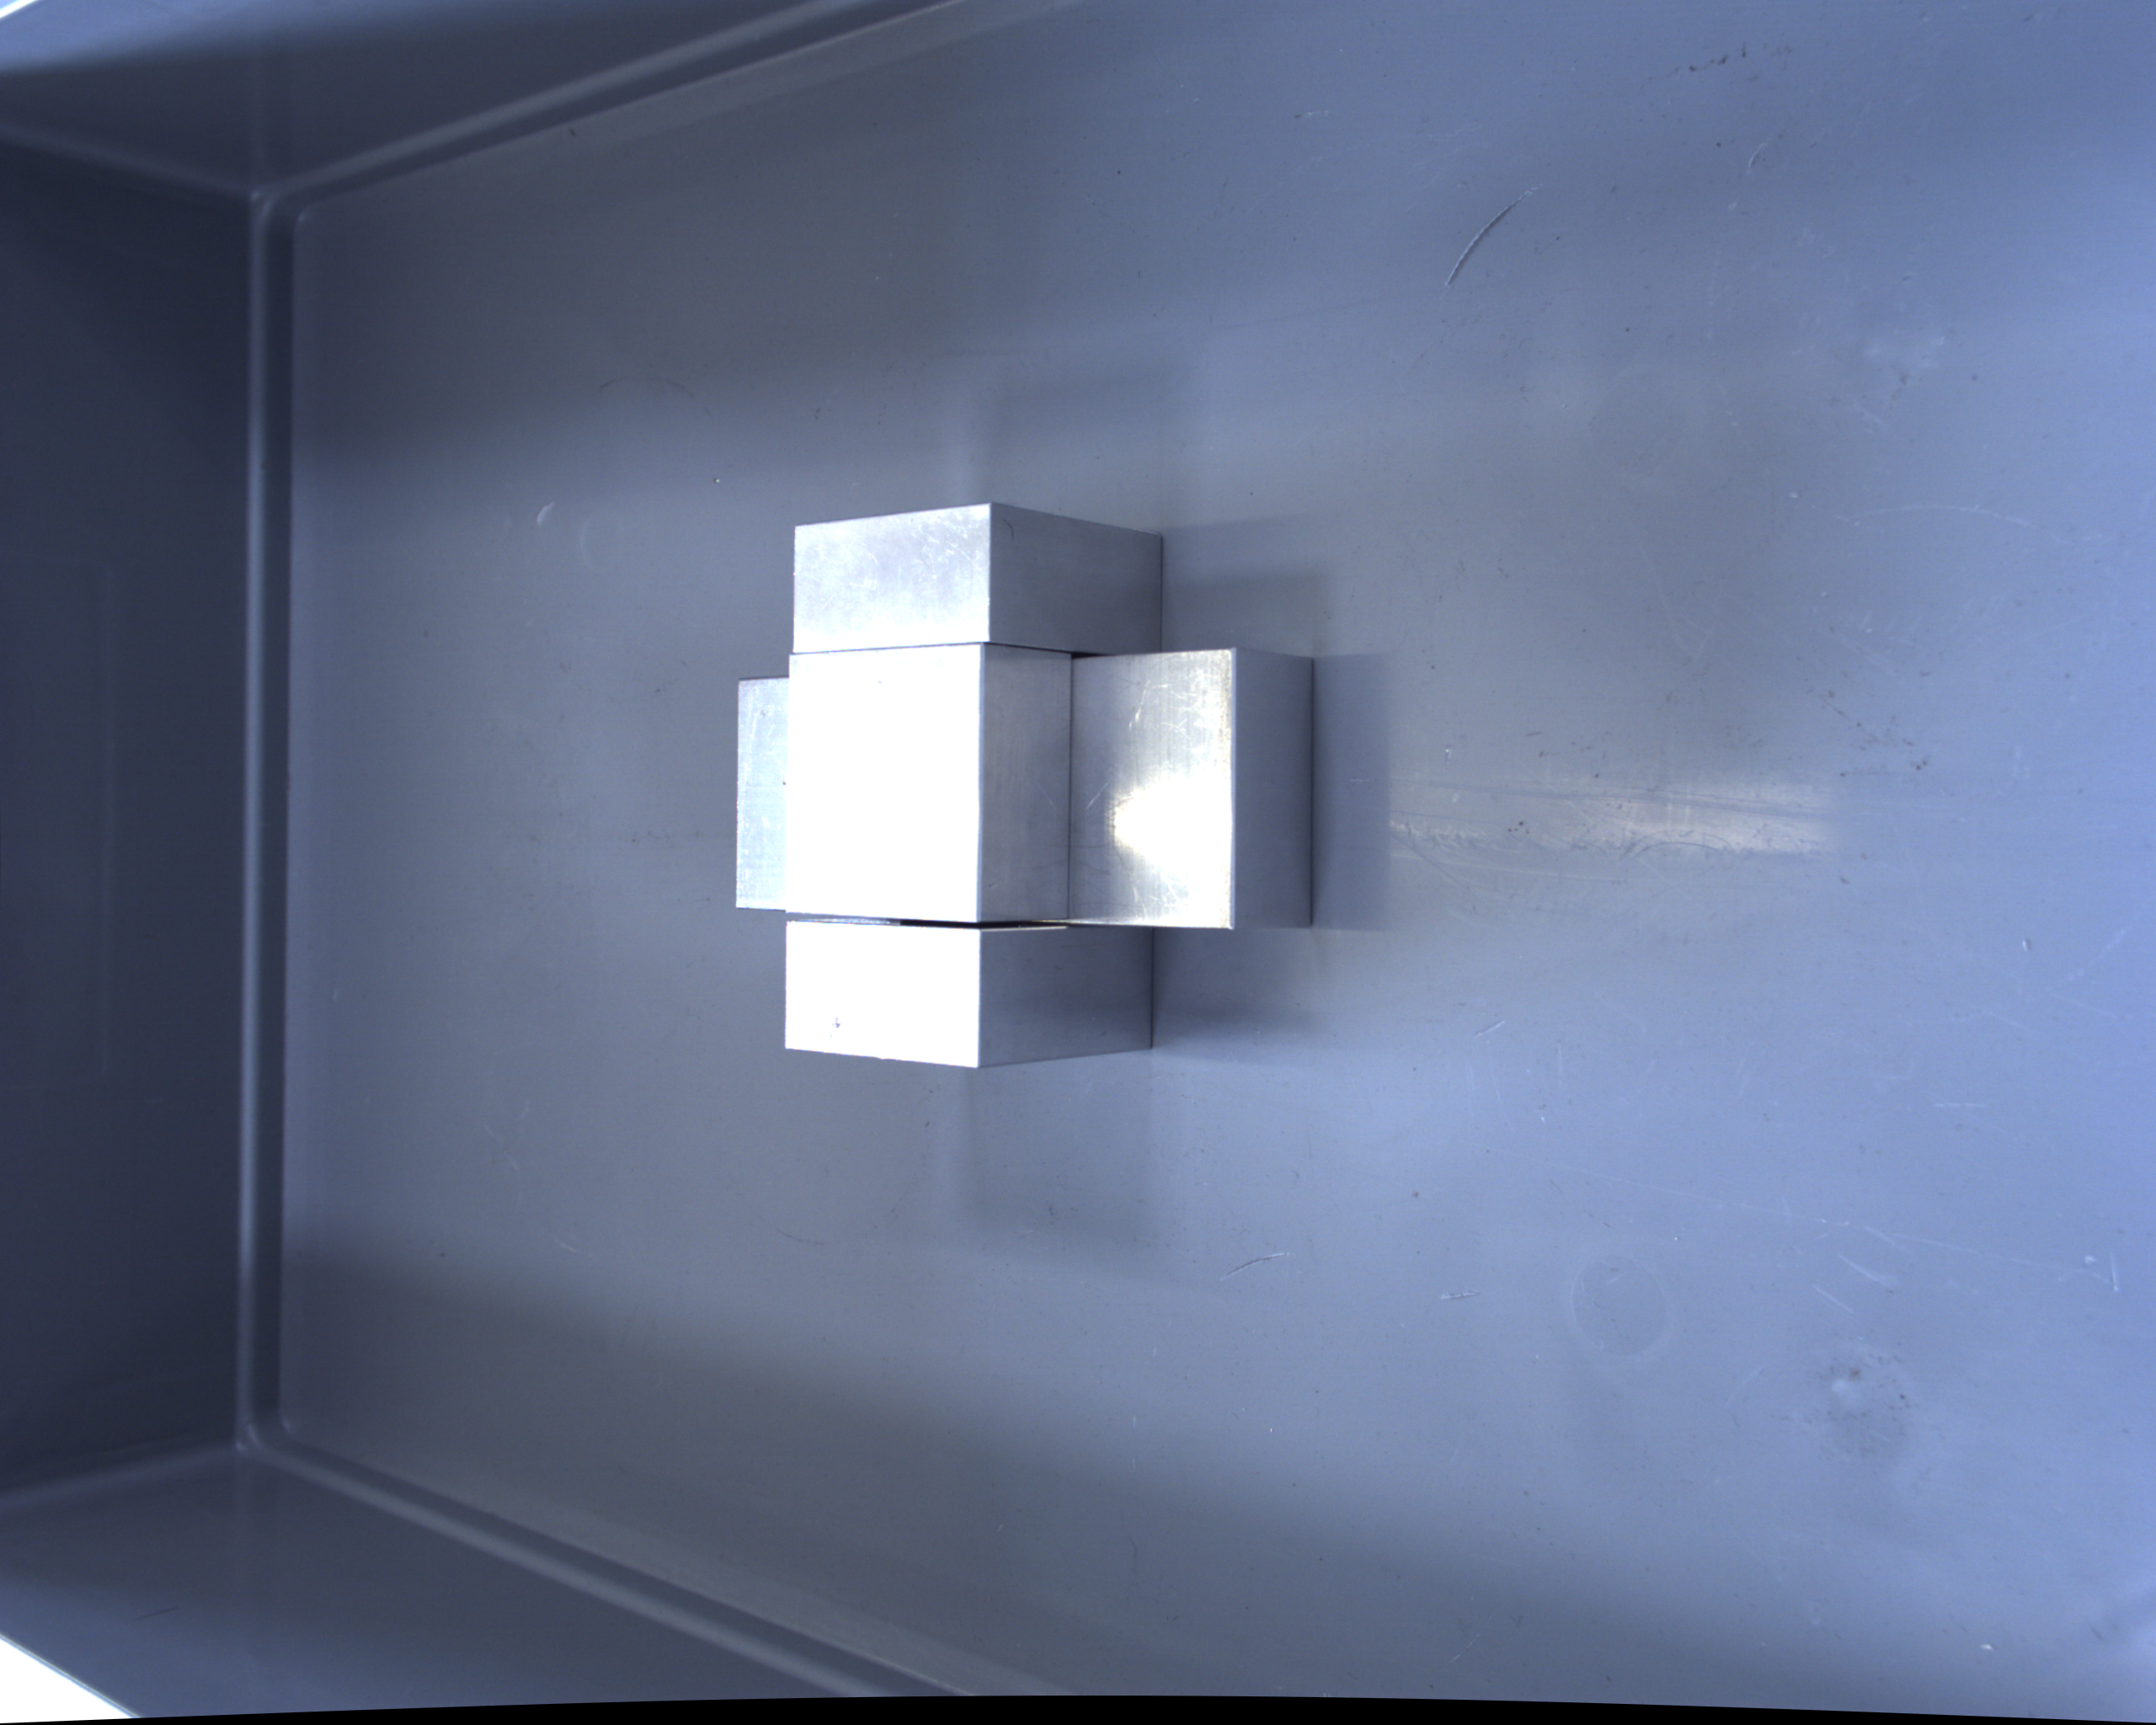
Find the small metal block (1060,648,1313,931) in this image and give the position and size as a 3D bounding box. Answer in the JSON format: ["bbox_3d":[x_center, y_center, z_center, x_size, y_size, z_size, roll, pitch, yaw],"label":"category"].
[{"bbox_3d":[0.016,-0.013,0.392,0.050,0.025,0.050,1,91,39],"label":"small metal block"}]

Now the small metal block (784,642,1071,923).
[{"bbox_3d":[-0.029,-0.015,0.395,0.050,0.025,0.050,1,91,39],"label":"small metal block"}]

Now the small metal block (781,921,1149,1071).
[{"bbox_3d":[-0.022,0.024,0.404,0.050,0.050,0.025,1,91,40],"label":"small metal block"}]

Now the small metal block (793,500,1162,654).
[{"bbox_3d":[-0.019,-0.052,0.404,0.050,0.050,0.025,1,91,40],"label":"small metal block"}]

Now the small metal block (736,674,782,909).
[{"bbox_3d":[-0.046,-0.015,0.442,0.050,0.025,0.050,1,91,40],"label":"small metal block"}]
